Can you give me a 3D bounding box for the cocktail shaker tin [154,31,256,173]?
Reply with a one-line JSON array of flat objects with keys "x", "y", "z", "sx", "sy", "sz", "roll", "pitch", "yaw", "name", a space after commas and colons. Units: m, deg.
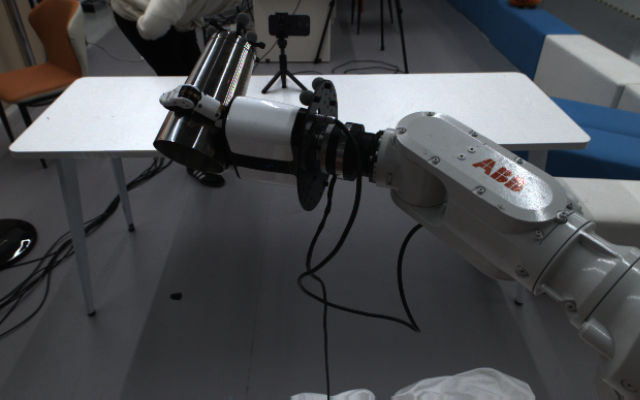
[{"x": -0.144, "y": -0.131, "z": 0.633, "sx": 0.093, "sy": 0.093, "sz": 0.170, "roll": 13, "pitch": 72, "yaw": 15, "name": "cocktail shaker tin"}]
